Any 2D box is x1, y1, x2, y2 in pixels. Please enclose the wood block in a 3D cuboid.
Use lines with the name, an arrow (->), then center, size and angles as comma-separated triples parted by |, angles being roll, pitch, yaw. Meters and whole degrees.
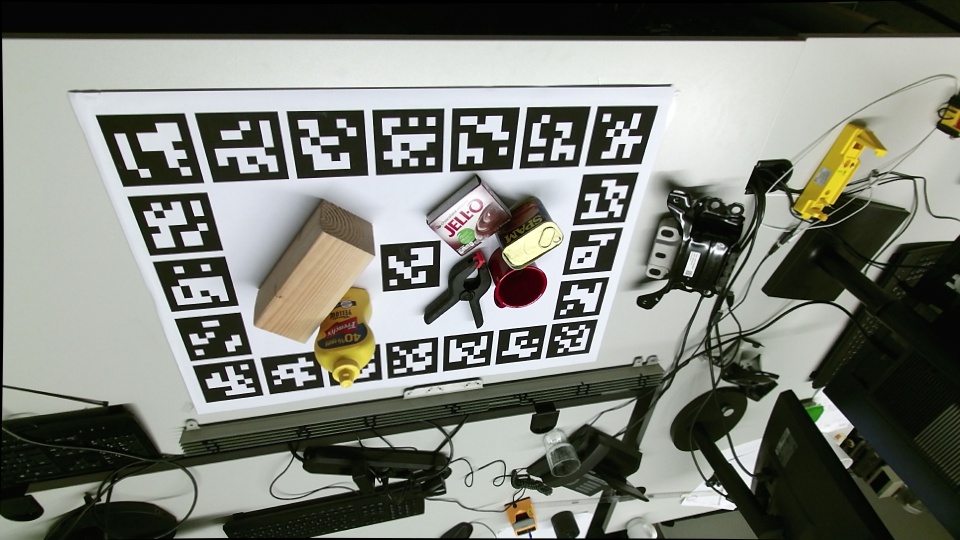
wood block -> -0.260, 0.006, 0.840 | 0.090, 0.090, 0.206 | 29, 115, -33

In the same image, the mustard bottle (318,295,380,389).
mustard bottle -> -0.212, 0.118, 0.866 | 0.096, 0.190, 0.058 | -10, 126, -10

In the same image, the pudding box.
pudding box -> -0.017, -0.084, 0.874 | 0.114, 0.038, 0.090 | -37, 126, 13

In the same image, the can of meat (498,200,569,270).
can of meat -> 0.084, -0.060, 0.886 | 0.102, 0.083, 0.058 | -30, 127, 6

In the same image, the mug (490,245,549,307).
mug -> 0.061, 0.013, 0.968 | 0.094, 0.081, 0.117 | 14, 118, -25

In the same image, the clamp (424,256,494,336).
clamp -> -0.023, 0.050, 0.977 | 0.122, 0.036, 0.165 | 12, 119, -22
